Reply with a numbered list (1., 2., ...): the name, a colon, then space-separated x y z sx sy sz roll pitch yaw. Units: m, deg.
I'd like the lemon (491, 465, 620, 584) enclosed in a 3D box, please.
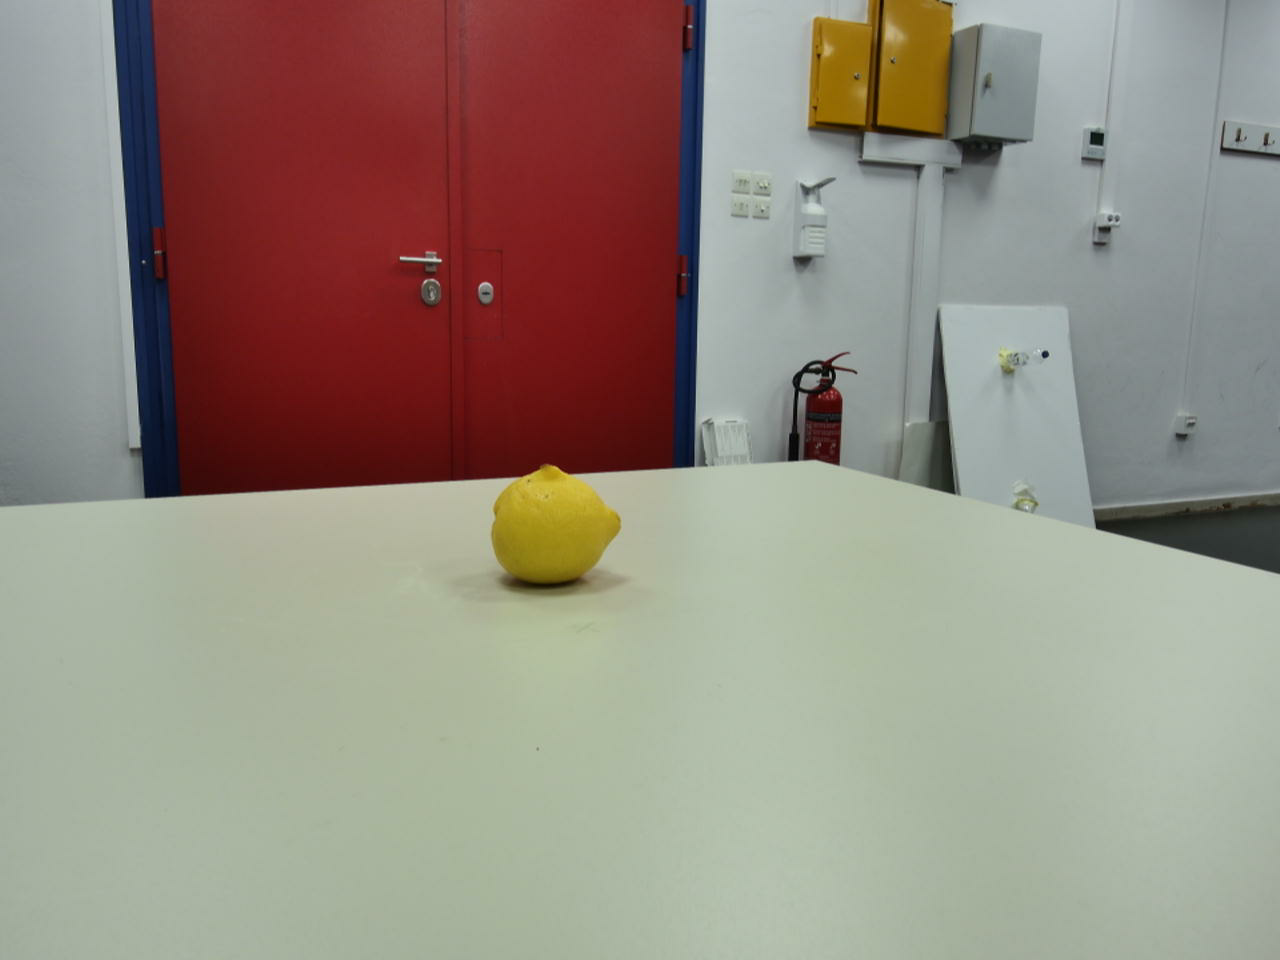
1. lemon: -0.055 0.026 0.598 0.071 0.071 0.070 4 9 31
